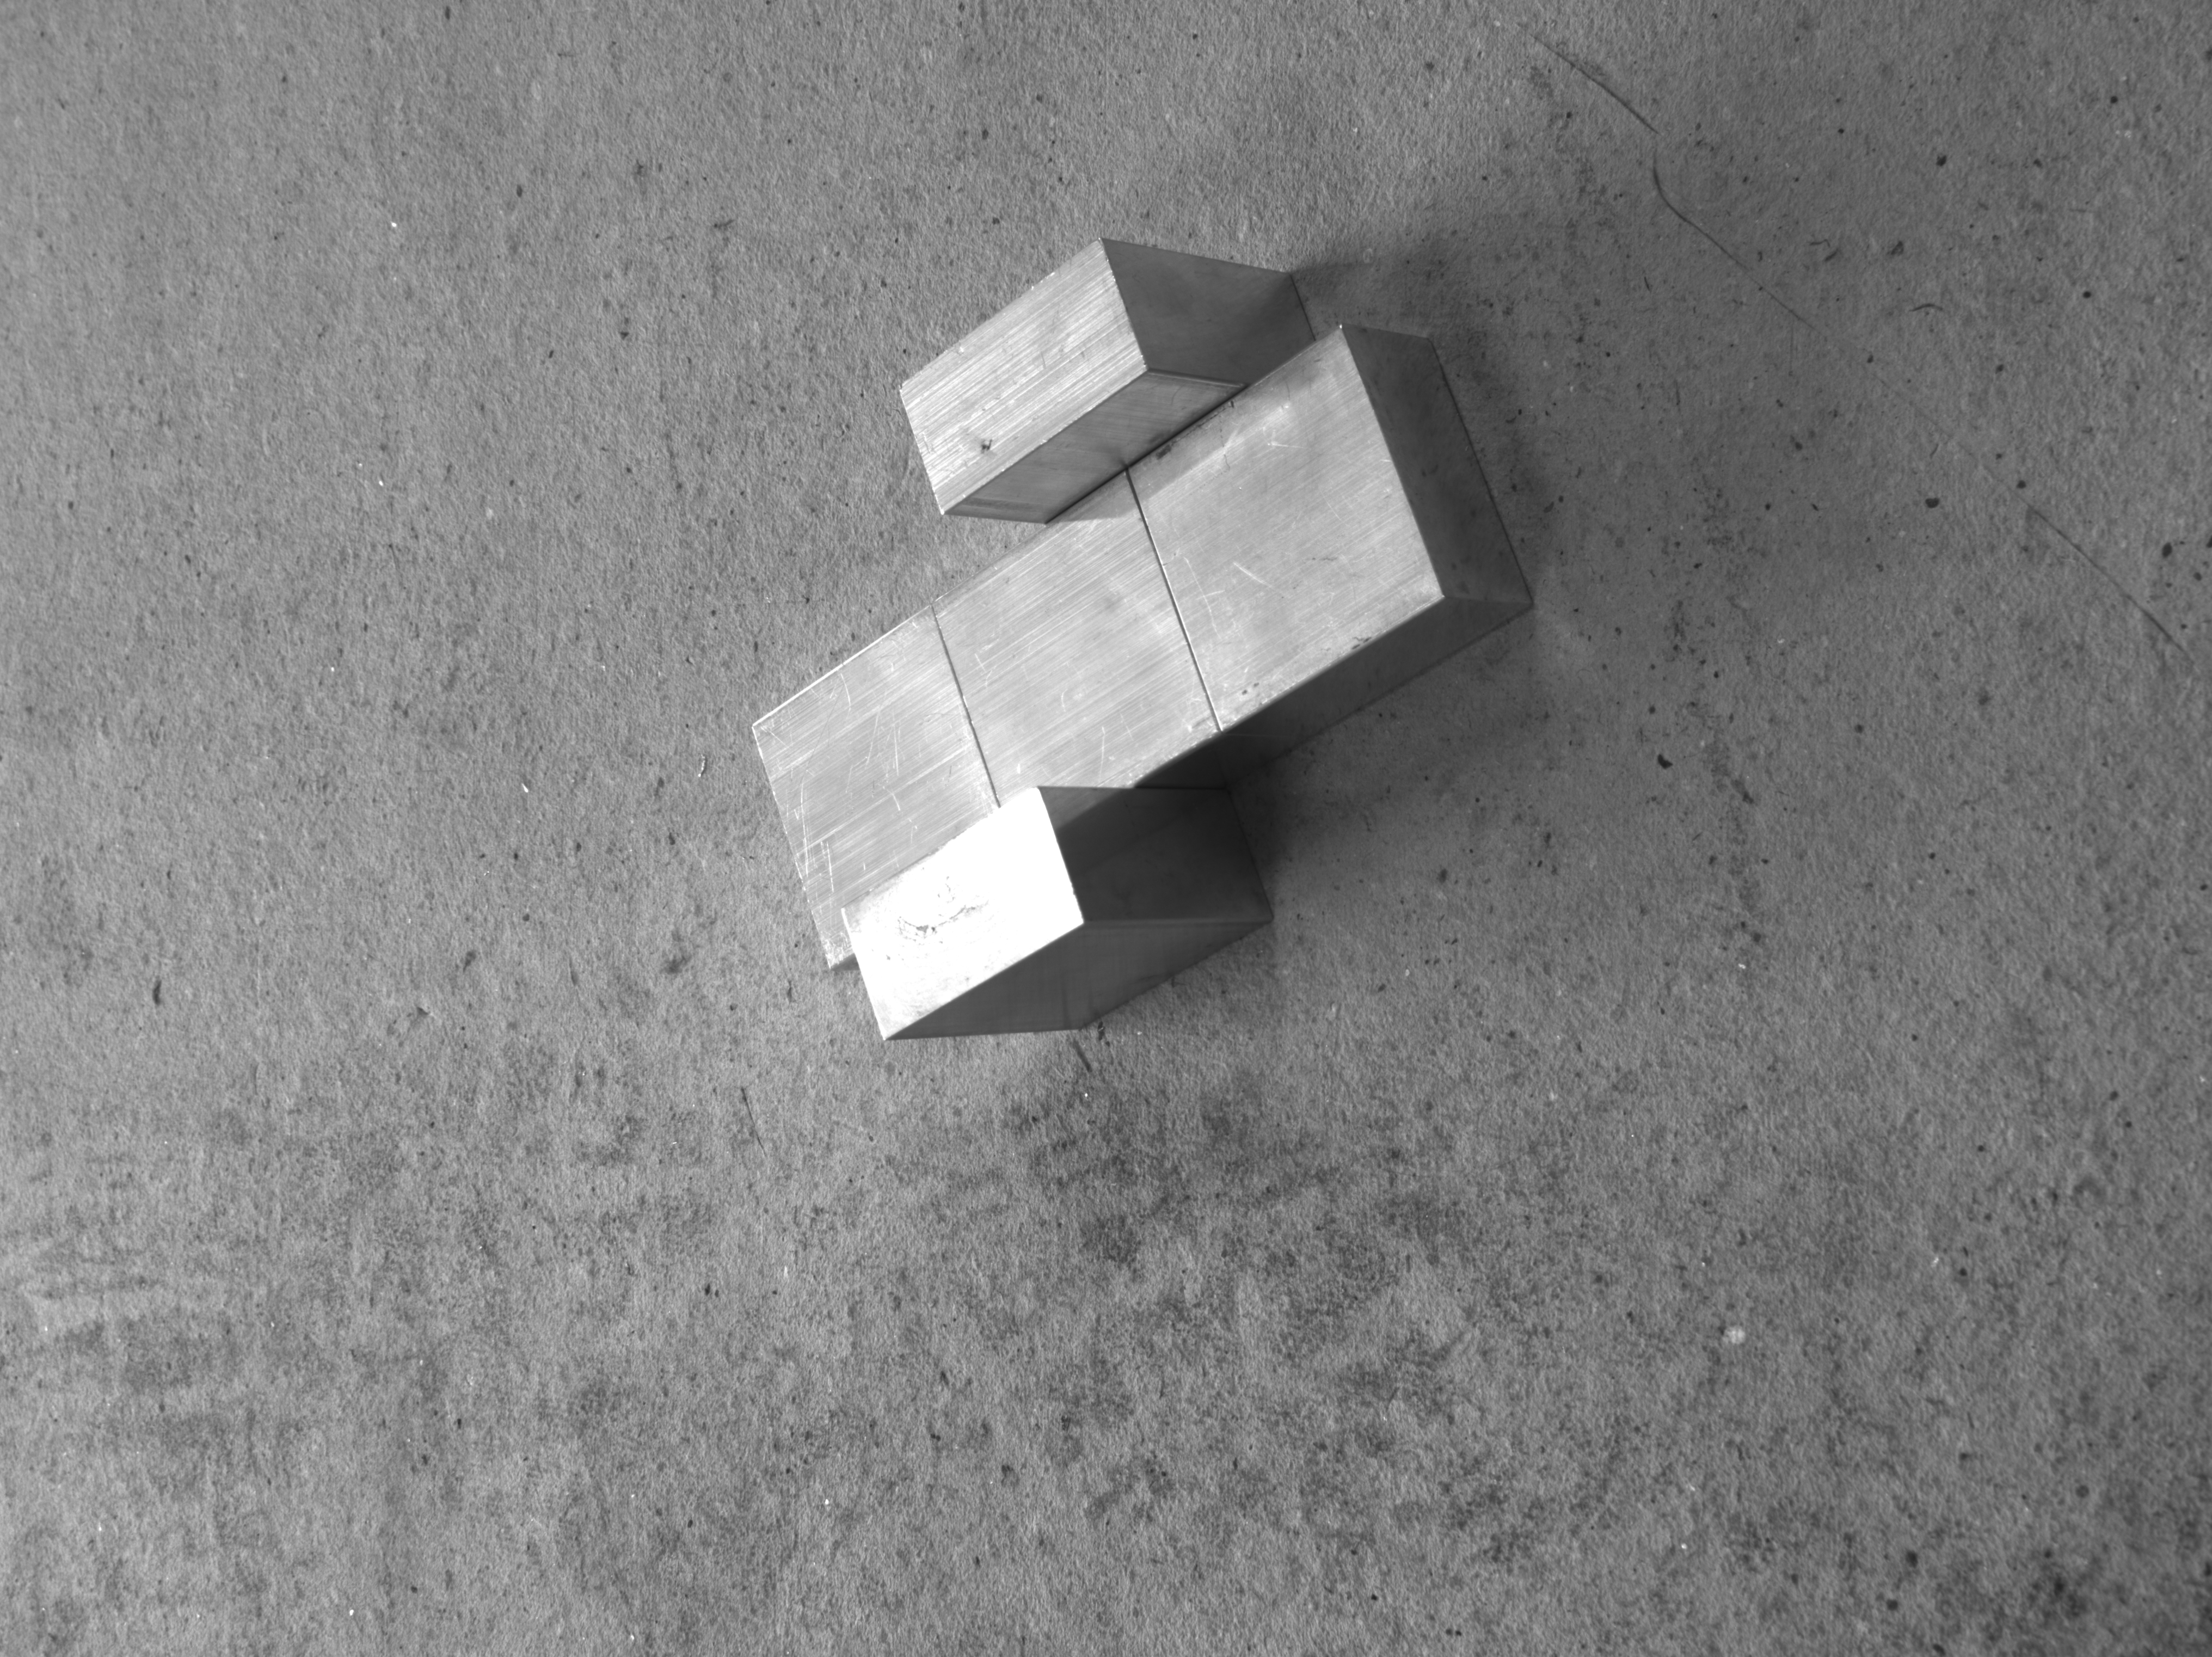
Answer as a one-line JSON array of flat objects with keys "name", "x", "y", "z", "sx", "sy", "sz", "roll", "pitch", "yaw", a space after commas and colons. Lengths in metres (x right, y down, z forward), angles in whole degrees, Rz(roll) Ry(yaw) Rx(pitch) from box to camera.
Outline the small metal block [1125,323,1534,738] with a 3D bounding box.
[{"name": "small metal block", "x": 0.037, "y": -0.049, "z": 0.614, "sx": 0.050, "sy": 0.025, "sz": 0.050, "roll": -31, "pitch": 71, "yaw": 36}]

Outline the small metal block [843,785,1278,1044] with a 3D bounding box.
[{"name": "small metal block", "x": -0.008, "y": 0.015, "z": 0.636, "sx": 0.050, "sy": 0.050, "sz": 0.025, "roll": -32, "pitch": 69, "yaw": 36}]

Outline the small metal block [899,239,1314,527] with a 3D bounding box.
[{"name": "small metal block", "x": 0.002, "y": -0.074, "z": 0.628, "sx": 0.050, "sy": 0.050, "sz": 0.025, "roll": -31, "pitch": 70, "yaw": 37}]

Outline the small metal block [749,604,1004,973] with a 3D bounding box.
[{"name": "small metal block", "x": -0.033, "y": -0.007, "z": 0.673, "sx": 0.050, "sy": 0.025, "sz": 0.050, "roll": -31, "pitch": 71, "yaw": 36}]

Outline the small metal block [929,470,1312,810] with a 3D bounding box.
[{"name": "small metal block", "x": 0.002, "y": -0.028, "z": 0.643, "sx": 0.050, "sy": 0.025, "sz": 0.050, "roll": -31, "pitch": 71, "yaw": 36}]
